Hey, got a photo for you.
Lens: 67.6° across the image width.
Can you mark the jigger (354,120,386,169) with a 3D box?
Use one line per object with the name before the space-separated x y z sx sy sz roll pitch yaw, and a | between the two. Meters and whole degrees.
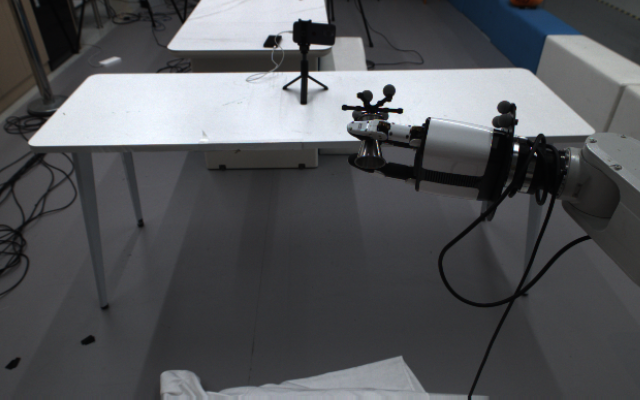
jigger | 0.070 -0.085 0.691 0.043 0.043 0.071 4 71 3
